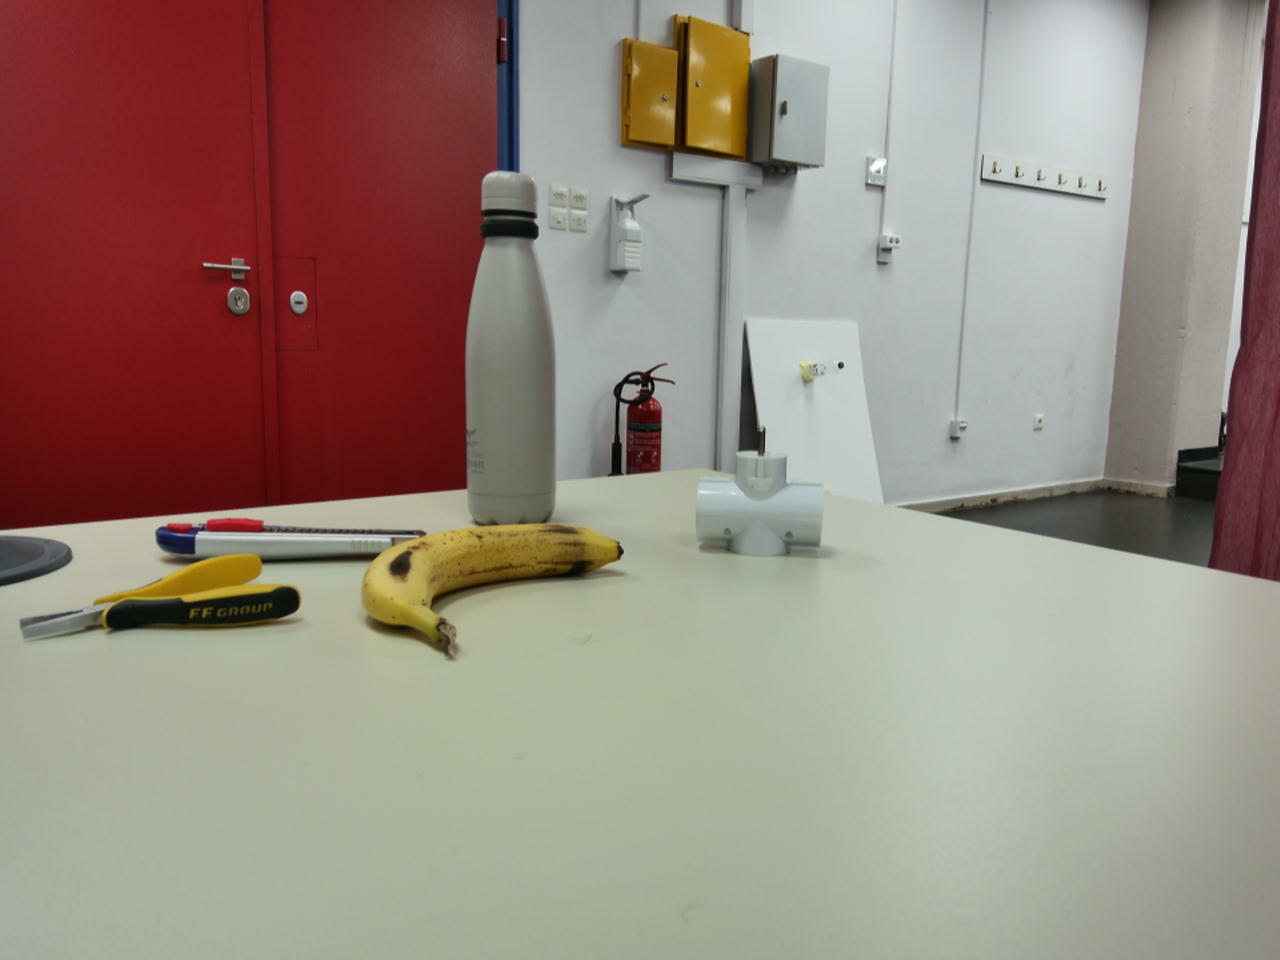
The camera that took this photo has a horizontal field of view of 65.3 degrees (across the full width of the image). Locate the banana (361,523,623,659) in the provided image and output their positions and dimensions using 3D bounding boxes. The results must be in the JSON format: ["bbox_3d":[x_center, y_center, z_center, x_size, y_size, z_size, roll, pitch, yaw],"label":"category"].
[{"bbox_3d":[-0.092,0.052,0.583,0.097,0.038,0.186,4,8,26],"label":"banana"}]
